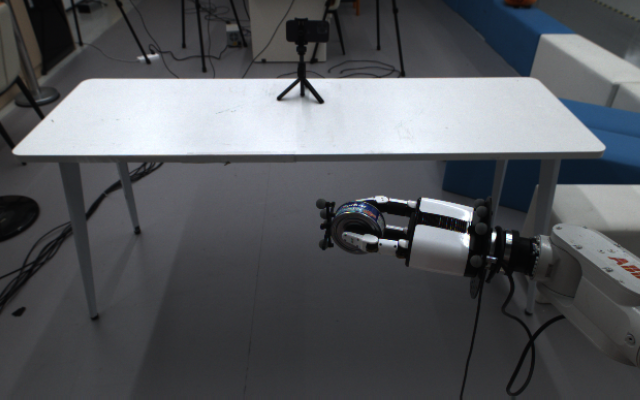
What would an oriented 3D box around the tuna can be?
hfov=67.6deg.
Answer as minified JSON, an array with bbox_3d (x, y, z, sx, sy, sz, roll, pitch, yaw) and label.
[{"bbox_3d":[0.062,0.046,0.775,0.085,0.085,0.034,9,33,10],"label":"tuna can"}]
